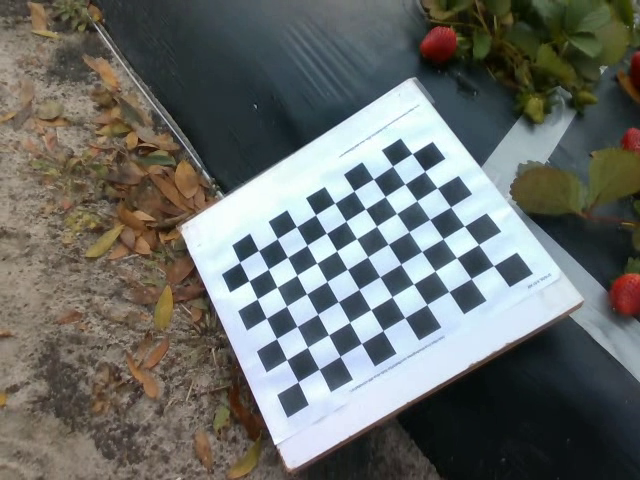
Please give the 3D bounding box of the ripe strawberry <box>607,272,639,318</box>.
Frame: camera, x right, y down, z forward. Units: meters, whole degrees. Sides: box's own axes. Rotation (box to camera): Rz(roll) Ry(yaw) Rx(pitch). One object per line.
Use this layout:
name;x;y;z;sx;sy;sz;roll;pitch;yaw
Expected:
ripe strawberry;0.257;0.050;0.567;0.039;0.047;0.041;15;-27;34

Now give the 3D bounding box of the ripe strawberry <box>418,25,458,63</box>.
ripe strawberry;0.119;-0.196;0.691;0.046;0.040;0.036;-11;36;-39
